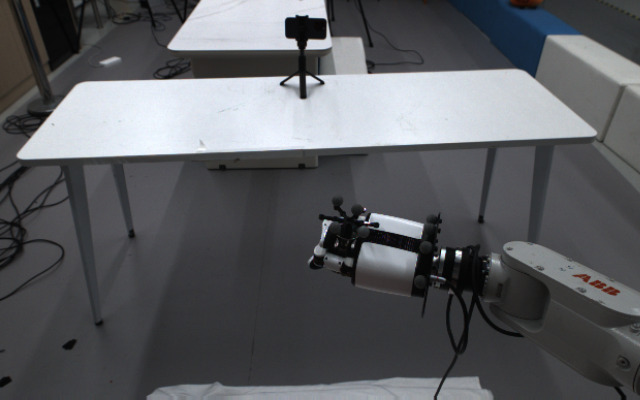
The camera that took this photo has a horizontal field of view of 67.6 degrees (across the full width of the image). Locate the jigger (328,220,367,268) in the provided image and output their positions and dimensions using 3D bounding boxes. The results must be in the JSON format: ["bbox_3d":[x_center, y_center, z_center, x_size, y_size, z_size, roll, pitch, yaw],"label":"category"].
[{"bbox_3d":[0.038,0.073,0.736,0.043,0.071,0.043,7,32,-4],"label":"jigger"}]
